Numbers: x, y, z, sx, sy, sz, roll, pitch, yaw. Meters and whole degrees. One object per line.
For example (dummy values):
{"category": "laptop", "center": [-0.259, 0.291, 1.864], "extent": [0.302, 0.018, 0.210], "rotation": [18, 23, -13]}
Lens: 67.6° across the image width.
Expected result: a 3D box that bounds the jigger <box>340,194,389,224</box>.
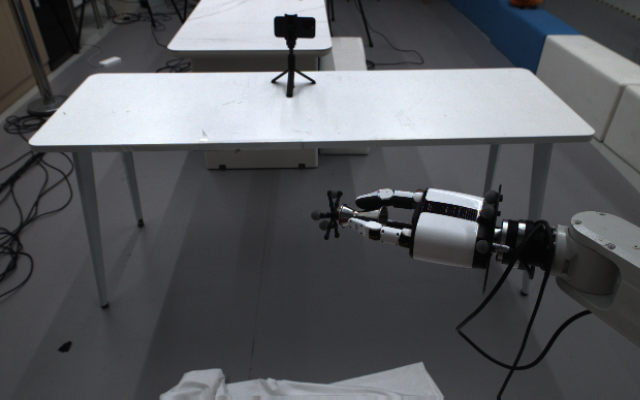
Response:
{"category": "jigger", "center": [0.075, 0.021, 0.760], "extent": [0.071, 0.043, 0.043], "rotation": [3, 32, 26]}
